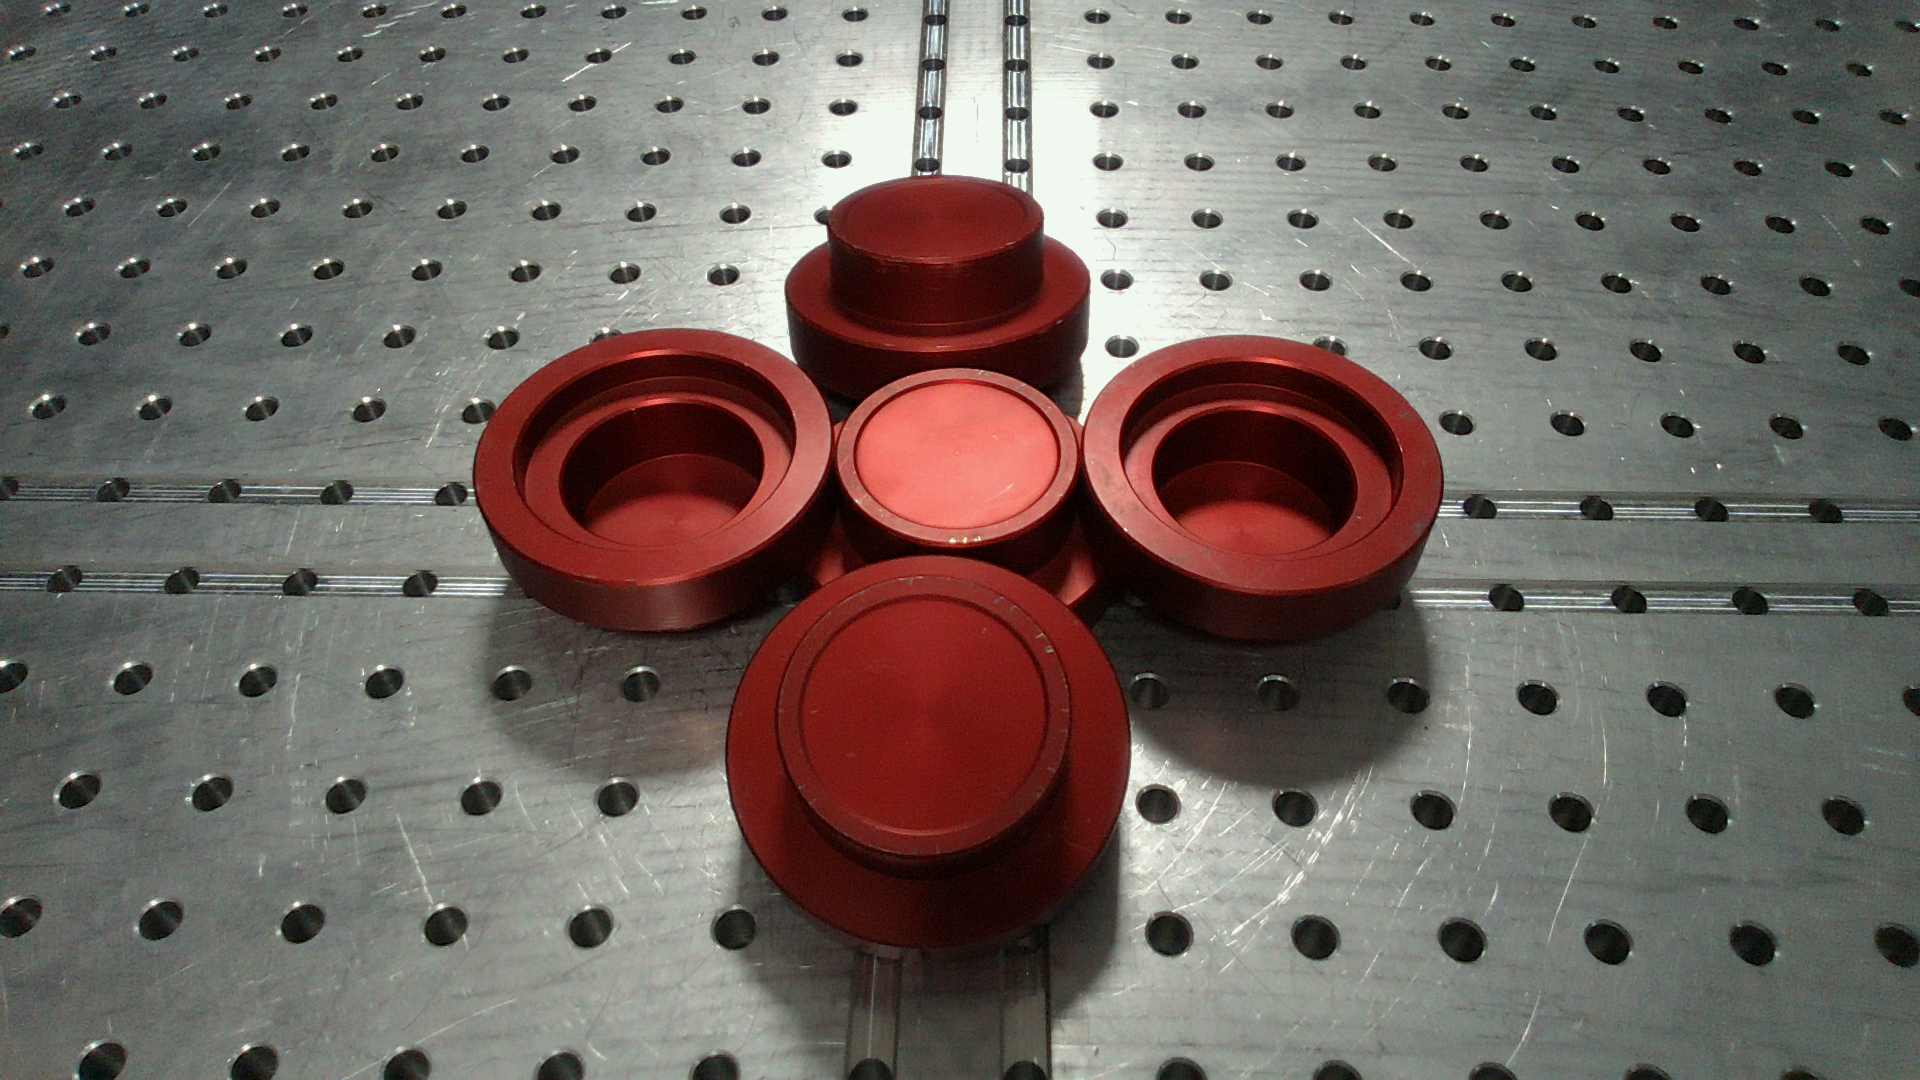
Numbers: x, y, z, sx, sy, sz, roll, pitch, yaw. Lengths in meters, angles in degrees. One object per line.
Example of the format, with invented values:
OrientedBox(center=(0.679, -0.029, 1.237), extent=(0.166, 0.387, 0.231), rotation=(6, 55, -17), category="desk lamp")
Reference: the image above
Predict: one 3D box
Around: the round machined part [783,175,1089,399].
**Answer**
OrientedBox(center=(-0.008, -0.084, 0.440), extent=(0.098, 0.042, 0.098), rotation=(-1, 35, 1), category="round machined part")

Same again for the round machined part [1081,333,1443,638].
OrientedBox(center=(0.082, -0.011, 0.392), extent=(0.098, 0.042, 0.098), rotation=(0, 50, 0), category="round machined part")

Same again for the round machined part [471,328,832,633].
OrientedBox(center=(-0.084, -0.013, 0.394), extent=(0.098, 0.042, 0.098), rotation=(0, 50, 0), category="round machined part")

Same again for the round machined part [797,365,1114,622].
OrientedBox(center=(-0.001, -0.012, 0.392), extent=(0.098, 0.042, 0.098), rotation=(0, 50, 0), category="round machined part")

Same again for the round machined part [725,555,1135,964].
OrientedBox(center=(-0.007, 0.048, 0.328), extent=(0.098, 0.042, 0.098), rotation=(0, 64, 0), category="round machined part")
